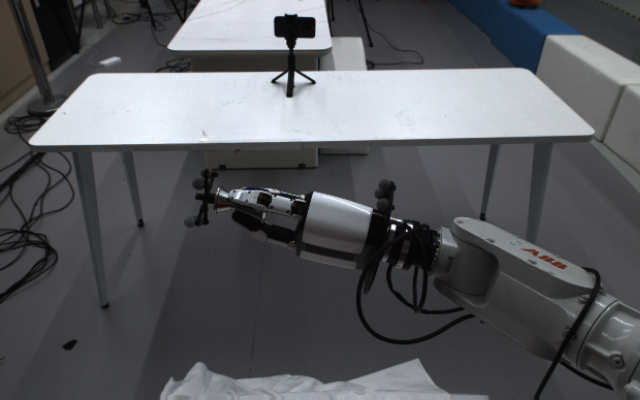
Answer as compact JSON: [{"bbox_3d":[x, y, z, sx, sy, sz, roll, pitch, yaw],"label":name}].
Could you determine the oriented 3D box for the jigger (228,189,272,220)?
[{"bbox_3d":[-0.102,0.003,0.673,0.071,0.043,0.043,10,35,1],"label":"jigger"}]
